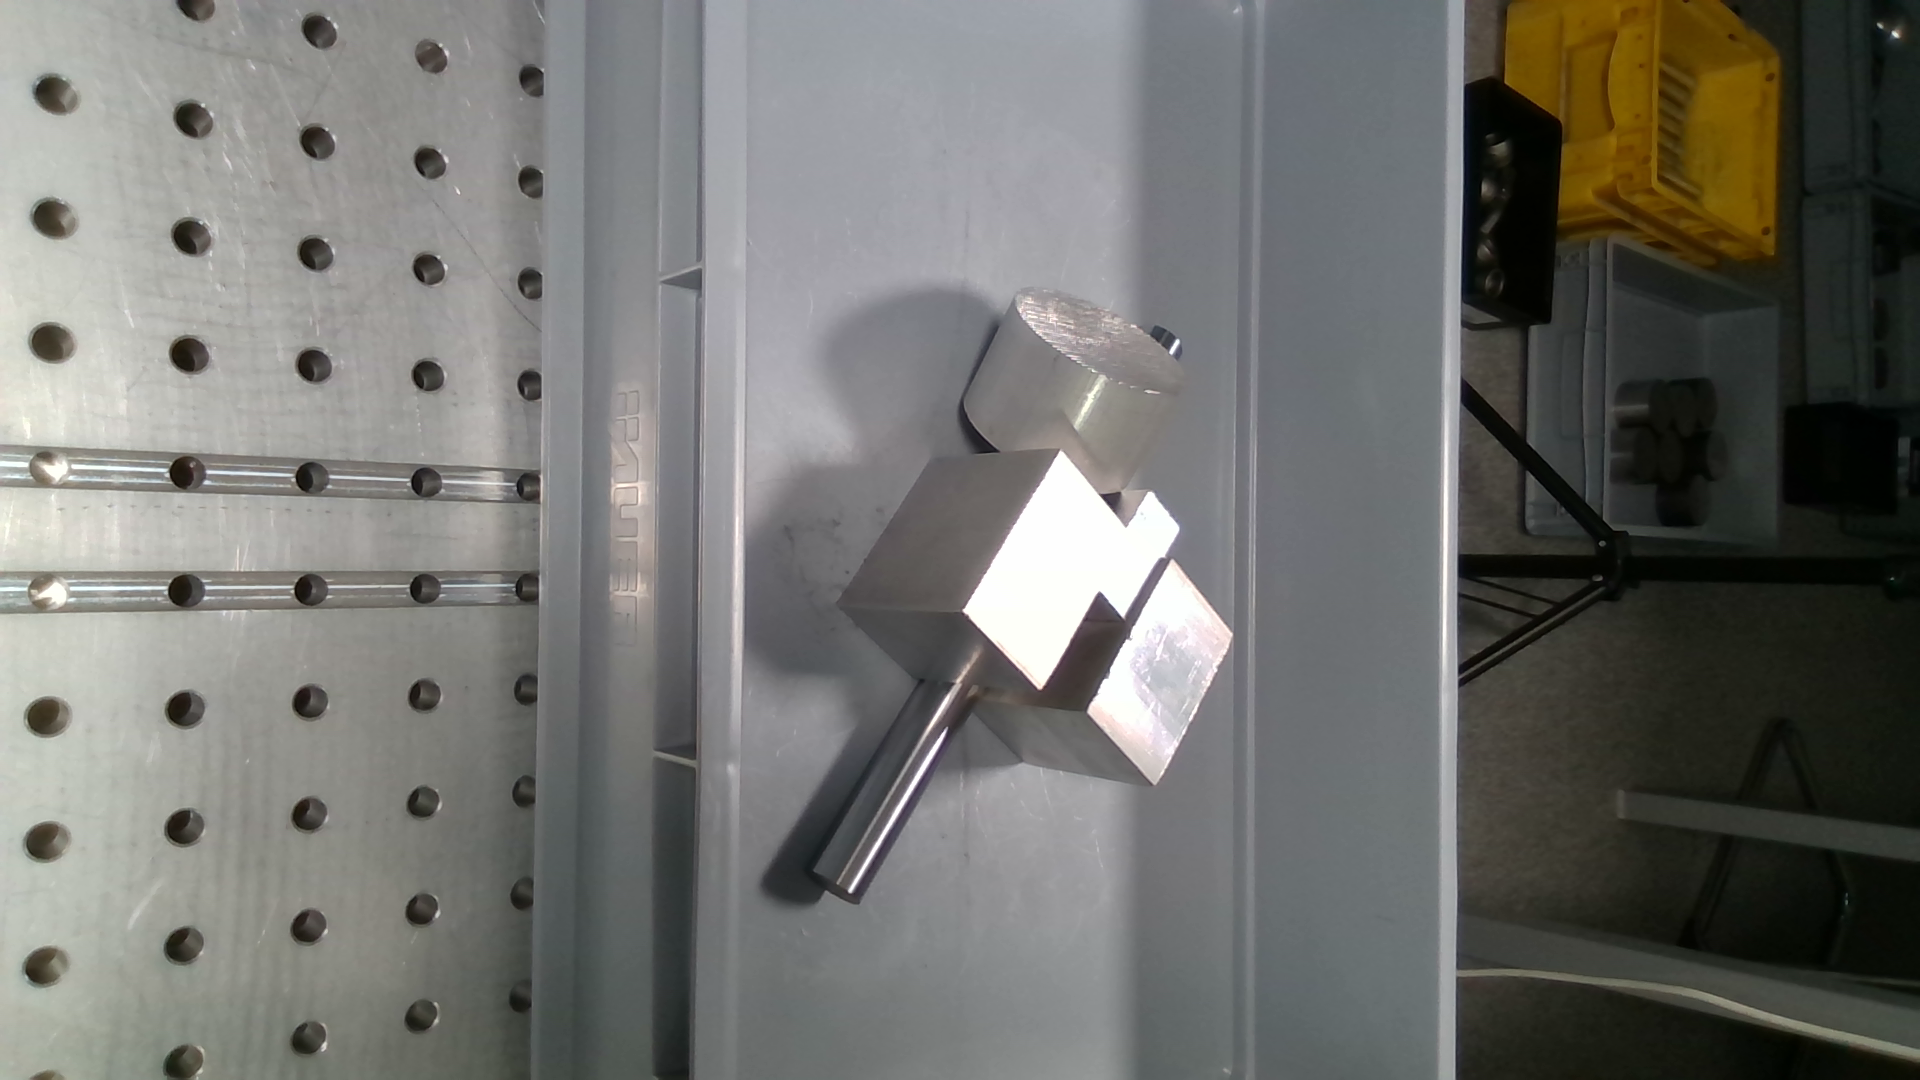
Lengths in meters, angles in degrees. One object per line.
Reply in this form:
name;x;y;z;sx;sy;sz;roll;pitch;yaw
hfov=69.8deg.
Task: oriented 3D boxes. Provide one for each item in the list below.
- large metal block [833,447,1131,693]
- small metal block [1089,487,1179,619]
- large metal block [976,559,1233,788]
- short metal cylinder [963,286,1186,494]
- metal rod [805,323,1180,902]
large metal block;0.009;0.011;0.554;0.050;0.080;0.080;47;62;-30
small metal block;0.056;0.005;0.583;0.025;0.050;0.050;48;61;-29
large metal block;0.058;0.055;0.596;0.050;0.080;0.080;48;61;-29
short metal cylinder;0.047;-0.064;0.578;0.080;0.080;0.050;1;129;-40
metal rod;0.022;0.020;0.602;0.025;0.025;0.299;47;62;-30
